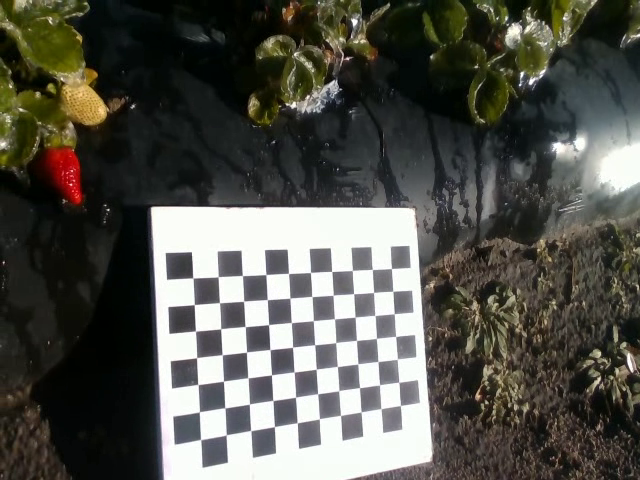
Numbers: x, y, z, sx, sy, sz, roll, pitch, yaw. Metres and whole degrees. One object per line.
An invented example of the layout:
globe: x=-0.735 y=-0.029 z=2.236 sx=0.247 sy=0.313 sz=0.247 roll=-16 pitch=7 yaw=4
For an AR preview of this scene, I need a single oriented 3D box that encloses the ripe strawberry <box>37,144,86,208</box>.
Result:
ripe strawberry: x=-0.209 y=-0.054 z=0.532 sx=0.041 sy=0.052 sz=0.040 roll=-21 pitch=-3 yaw=-29
